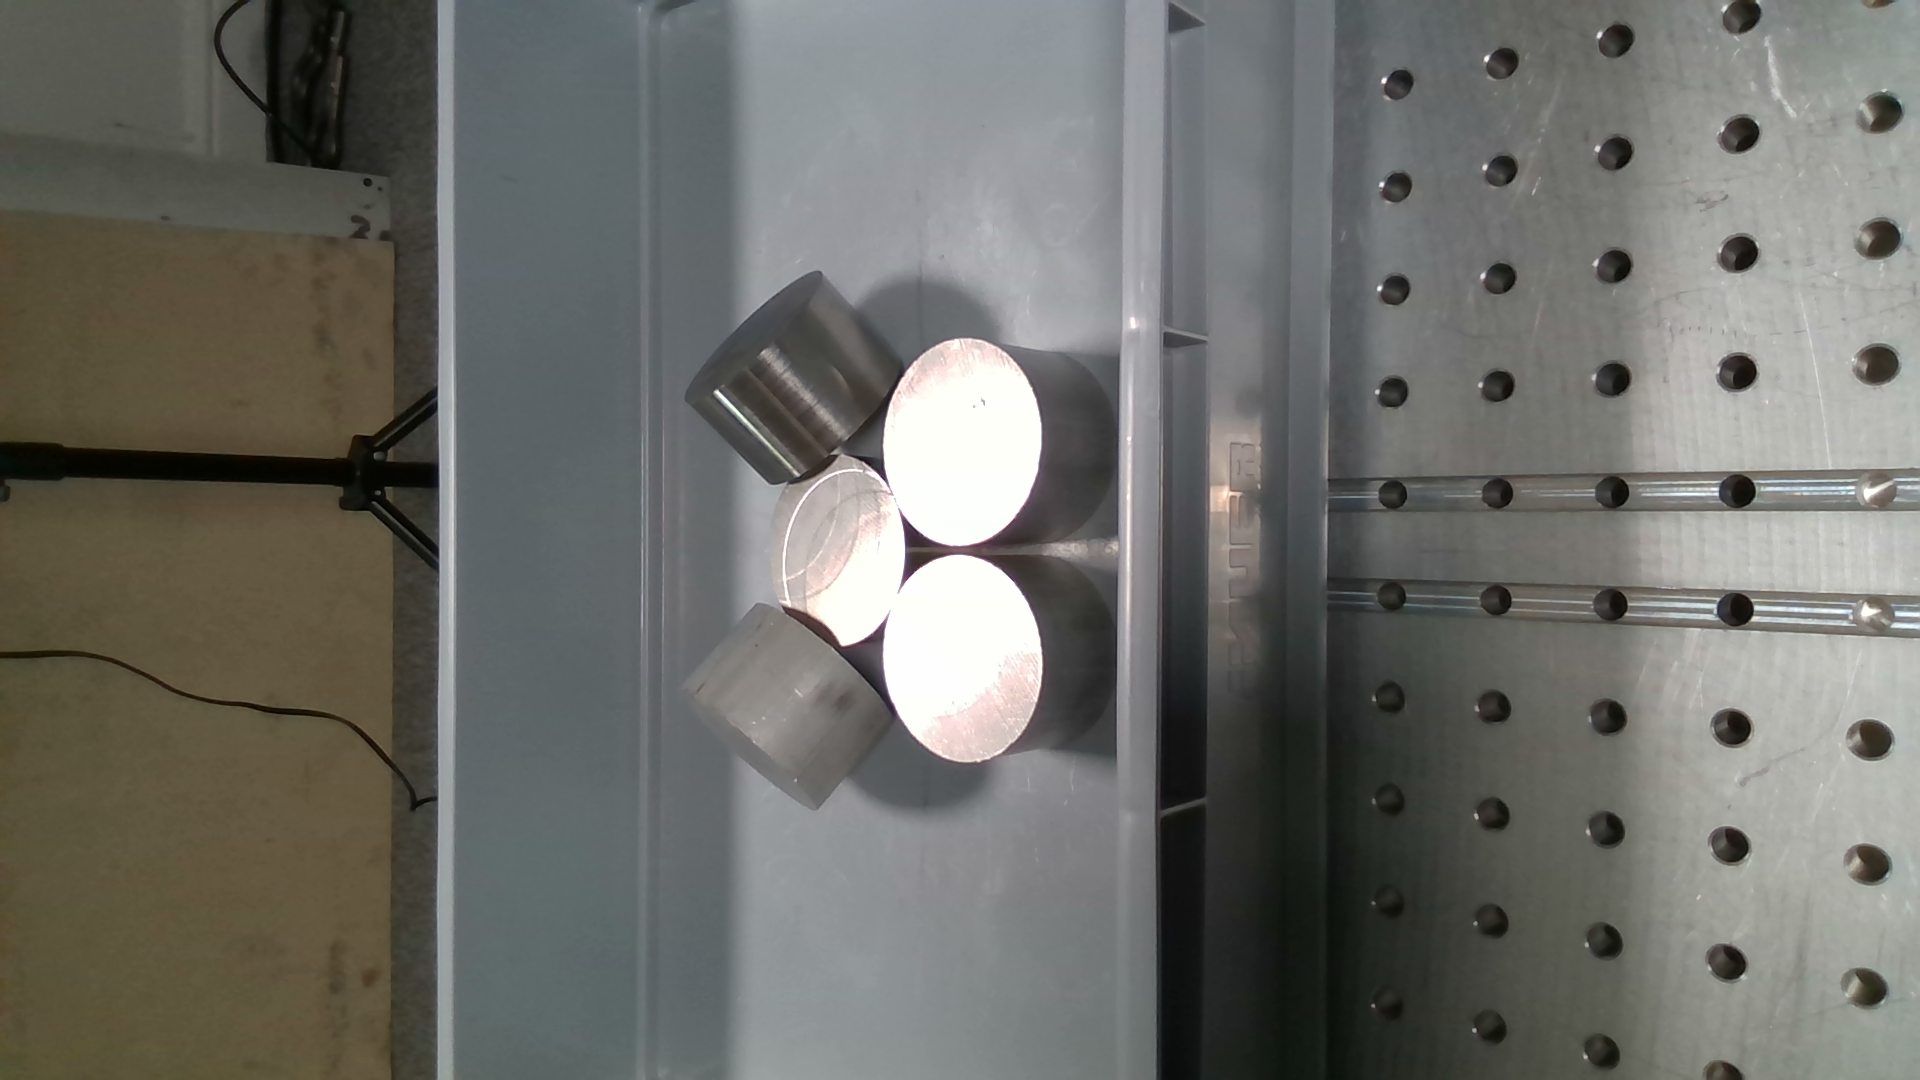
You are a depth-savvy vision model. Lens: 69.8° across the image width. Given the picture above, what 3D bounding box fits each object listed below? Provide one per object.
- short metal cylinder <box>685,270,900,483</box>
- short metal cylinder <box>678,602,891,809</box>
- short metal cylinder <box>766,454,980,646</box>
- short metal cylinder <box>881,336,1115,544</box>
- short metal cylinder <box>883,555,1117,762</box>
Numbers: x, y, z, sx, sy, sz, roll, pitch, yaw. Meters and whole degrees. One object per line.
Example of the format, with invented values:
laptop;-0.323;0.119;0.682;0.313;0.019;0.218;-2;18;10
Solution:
short metal cylinder;-0.073;-0.071;0.598;0.080;0.080;0.050;-25;119;38
short metal cylinder;-0.077;0.073;0.602;0.080;0.080;0.050;26;67;37
short metal cylinder;-0.038;0.004;0.594;0.080;0.050;0.080;0;91;40
short metal cylinder;0.015;-0.039;0.550;0.080;0.050;0.080;0;91;40
short metal cylinder;0.016;0.046;0.552;0.080;0.050;0.080;0;91;40
